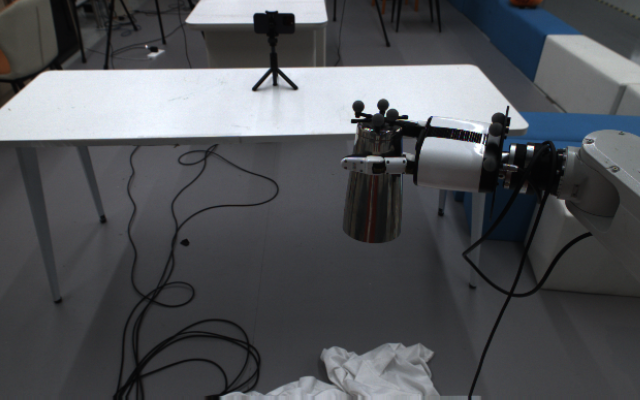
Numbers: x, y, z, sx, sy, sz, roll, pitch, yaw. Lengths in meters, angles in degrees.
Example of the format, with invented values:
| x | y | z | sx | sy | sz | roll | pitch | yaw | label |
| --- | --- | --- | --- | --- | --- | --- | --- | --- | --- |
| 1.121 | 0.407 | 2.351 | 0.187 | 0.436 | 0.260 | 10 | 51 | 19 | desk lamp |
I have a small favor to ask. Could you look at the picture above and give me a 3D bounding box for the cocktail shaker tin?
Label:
| x | y | z | sx | sy | sz | roll | pitch | yaw | label |
| --- | --- | --- | --- | --- | --- | --- | --- | --- | --- |
| 0.086 | -0.035 | 0.732 | 0.093 | 0.170 | 0.093 | 1 | 27 | -1 | cocktail shaker tin |
